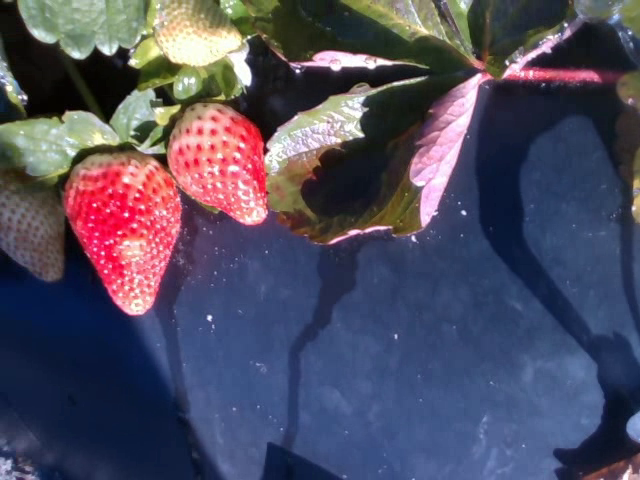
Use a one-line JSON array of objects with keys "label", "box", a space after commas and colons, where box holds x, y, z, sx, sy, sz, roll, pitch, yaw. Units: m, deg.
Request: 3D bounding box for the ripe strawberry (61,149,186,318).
[{"label": "ripe strawberry", "box": [-0.060, 0.001, 0.178, 0.036, 0.052, 0.039, -16, -15, 32]}]

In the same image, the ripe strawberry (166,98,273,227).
[{"label": "ripe strawberry", "box": [-0.028, -0.021, 0.170, 0.036, 0.041, 0.030, -45, 0, 39]}]
